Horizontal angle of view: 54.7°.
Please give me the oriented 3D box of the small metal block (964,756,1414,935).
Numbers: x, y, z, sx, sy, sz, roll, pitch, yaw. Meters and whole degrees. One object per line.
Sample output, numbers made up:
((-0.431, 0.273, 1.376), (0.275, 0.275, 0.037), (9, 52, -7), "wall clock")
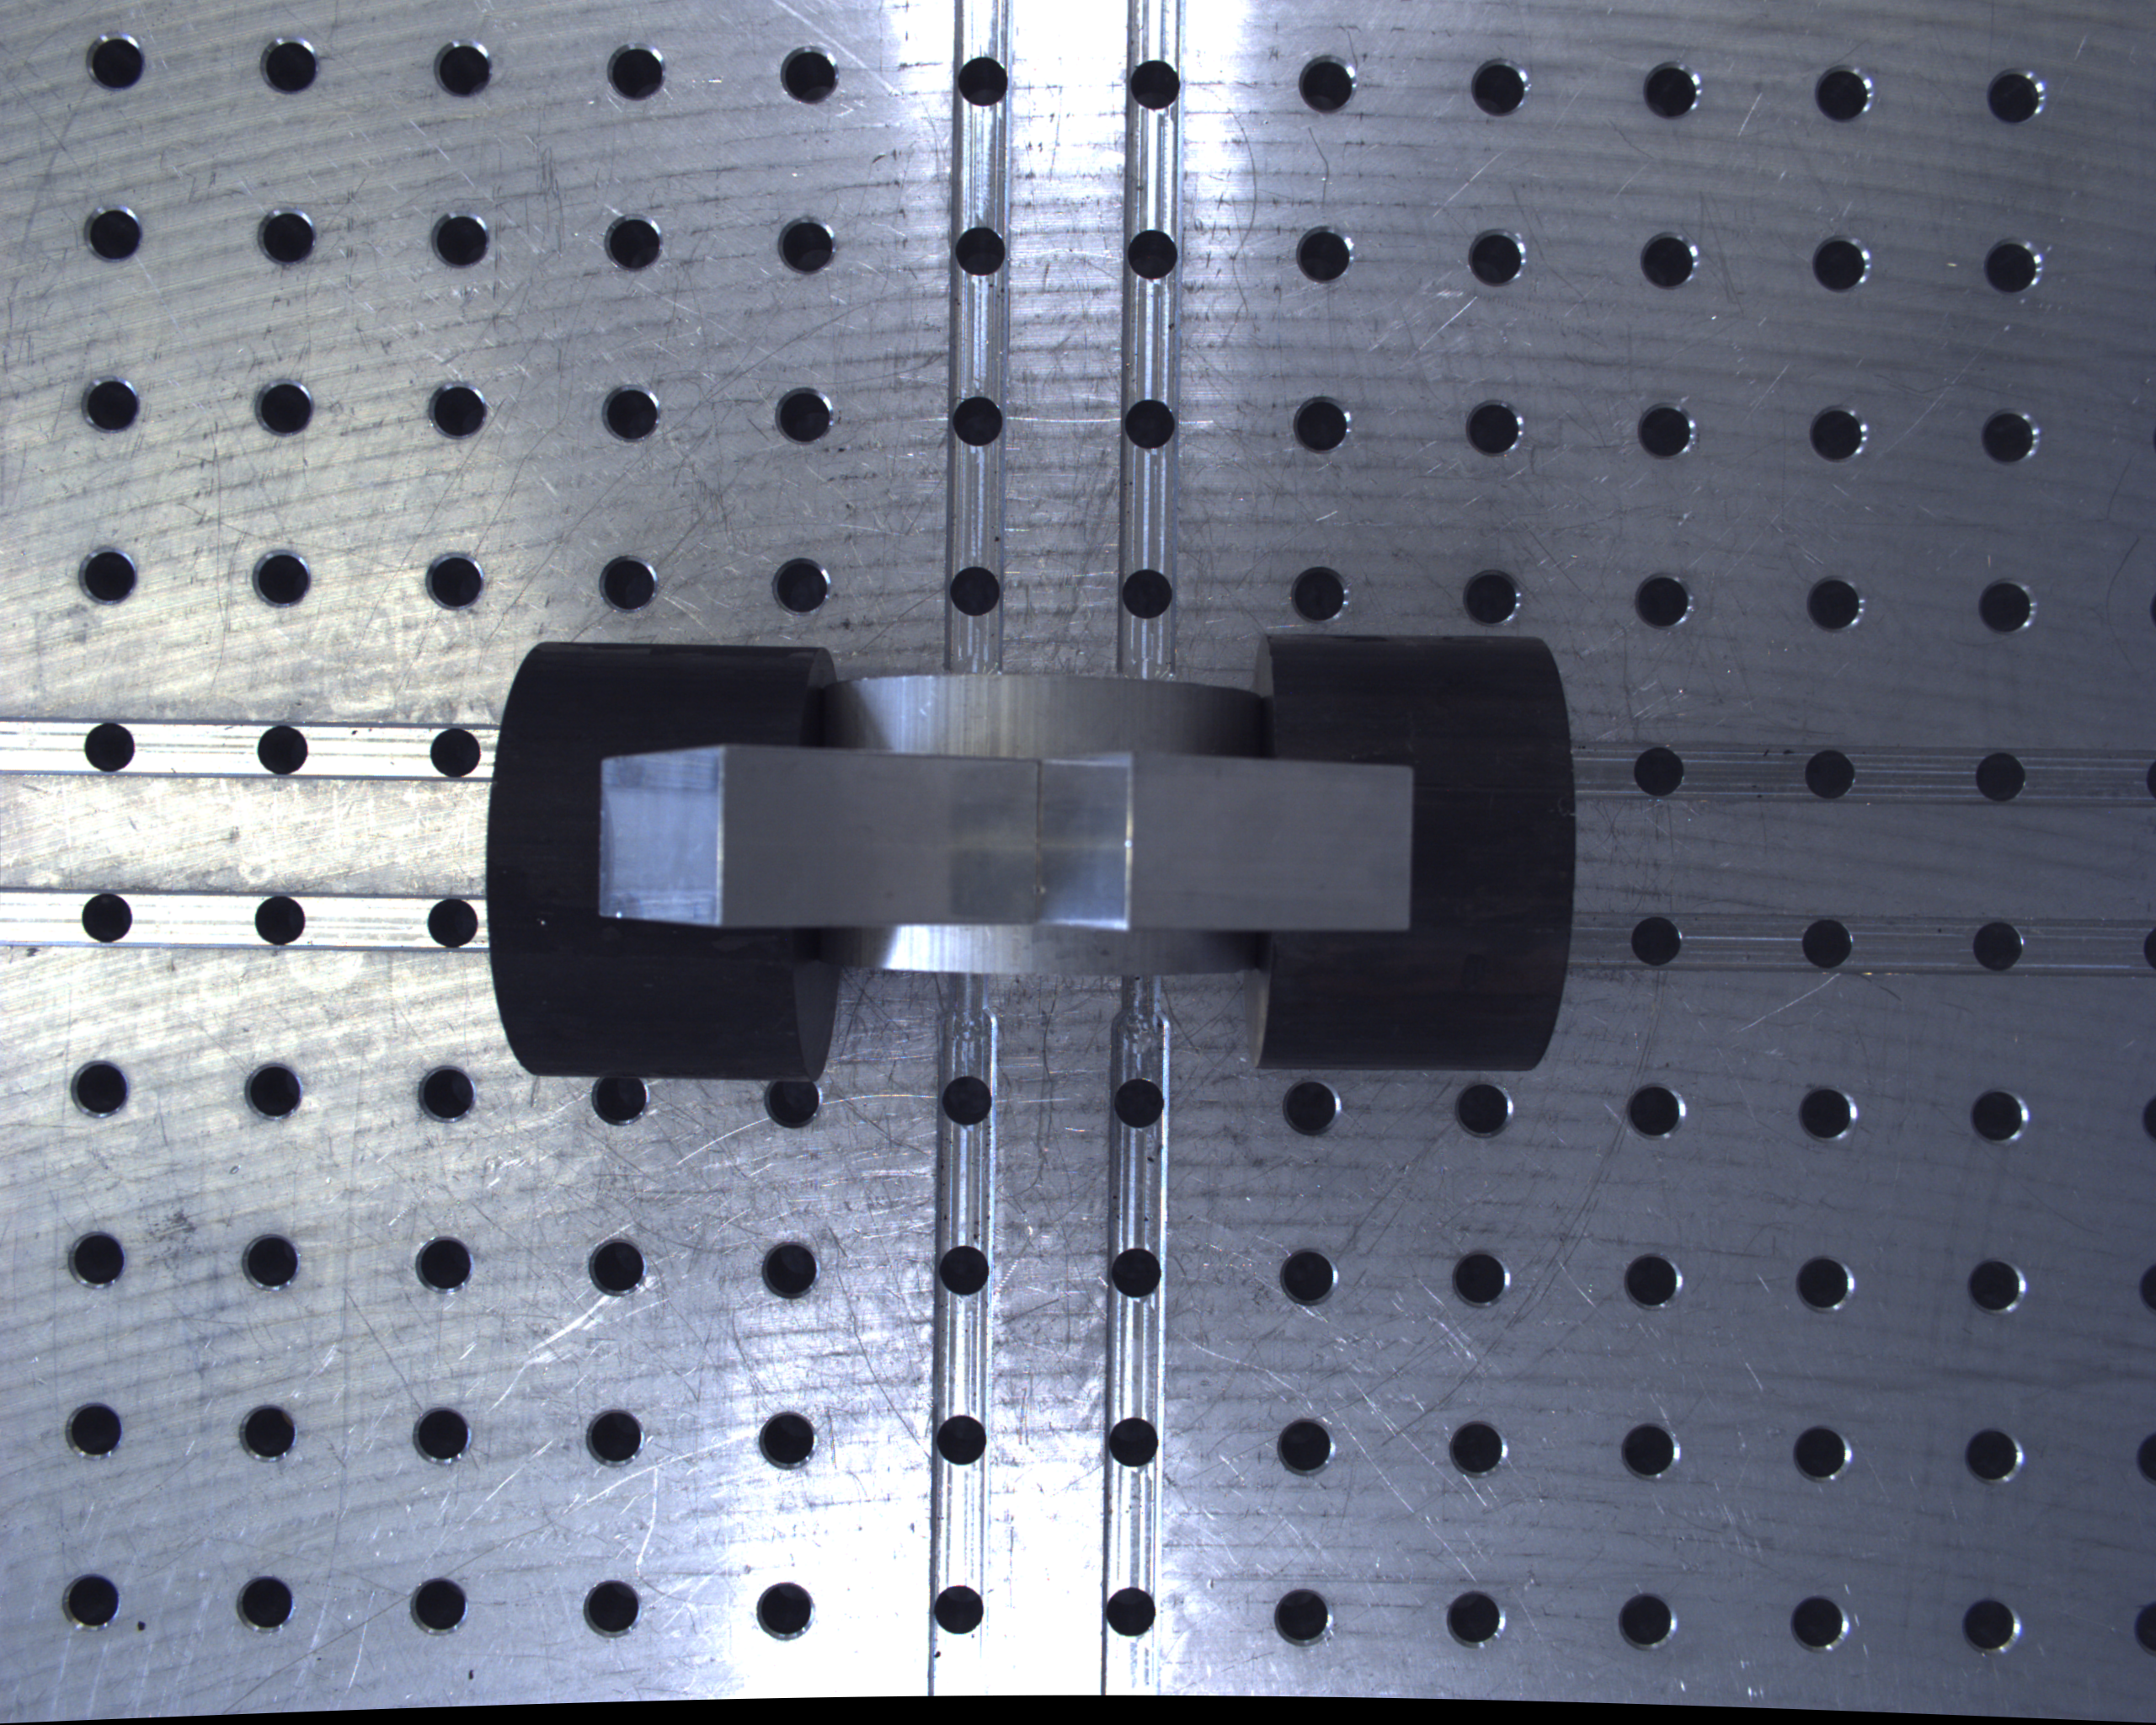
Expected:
((0.016, -0.002, 0.324), (0.050, 0.050, 0.025), (1, 90, -31), "small metal block")

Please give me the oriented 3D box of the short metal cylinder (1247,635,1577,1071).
((0.058, -0.002, 0.385), (0.050, 0.080, 0.079), (1, 90, 1), "short metal cylinder")

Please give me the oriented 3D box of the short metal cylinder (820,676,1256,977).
((-0.007, -0.006, 0.385), (0.081, 0.080, 0.050), (1, 90, 0), "short metal cylinder")

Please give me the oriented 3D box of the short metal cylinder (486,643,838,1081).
((-0.073, 0.000, 0.385), (0.050, 0.080, 0.079), (1, 90, 0), "short metal cylinder")

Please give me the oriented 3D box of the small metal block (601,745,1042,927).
((-0.040, -0.004, 0.319), (0.050, 0.050, 0.025), (1, 90, -32), "small metal block")
